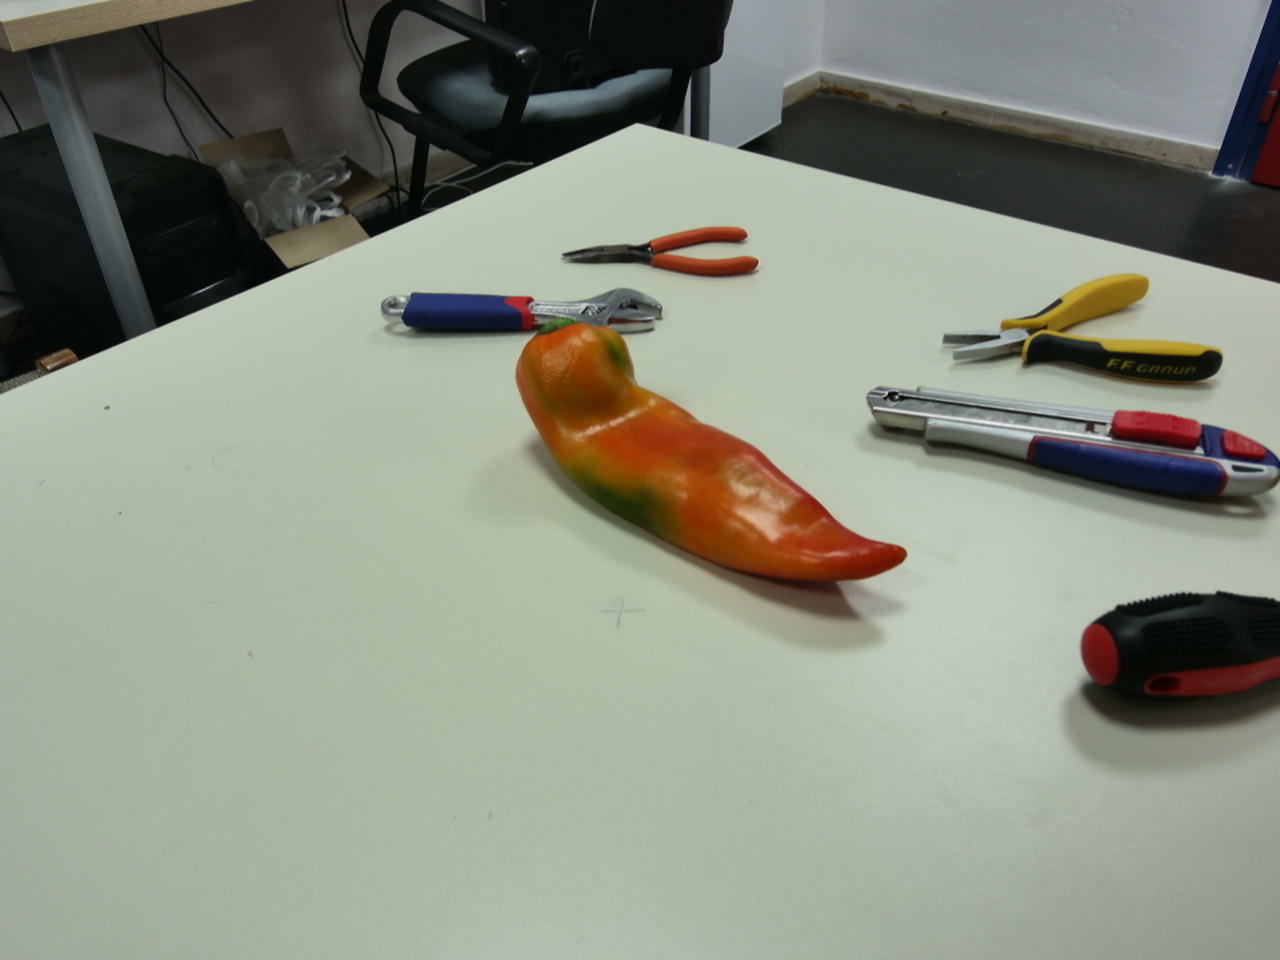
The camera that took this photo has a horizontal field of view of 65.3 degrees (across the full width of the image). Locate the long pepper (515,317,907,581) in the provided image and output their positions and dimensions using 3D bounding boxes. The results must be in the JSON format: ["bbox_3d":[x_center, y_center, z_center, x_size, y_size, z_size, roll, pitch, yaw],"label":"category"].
[{"bbox_3d":[0.022,-0.013,0.423,0.066,0.065,0.199,-31,46,-34],"label":"long pepper"}]
